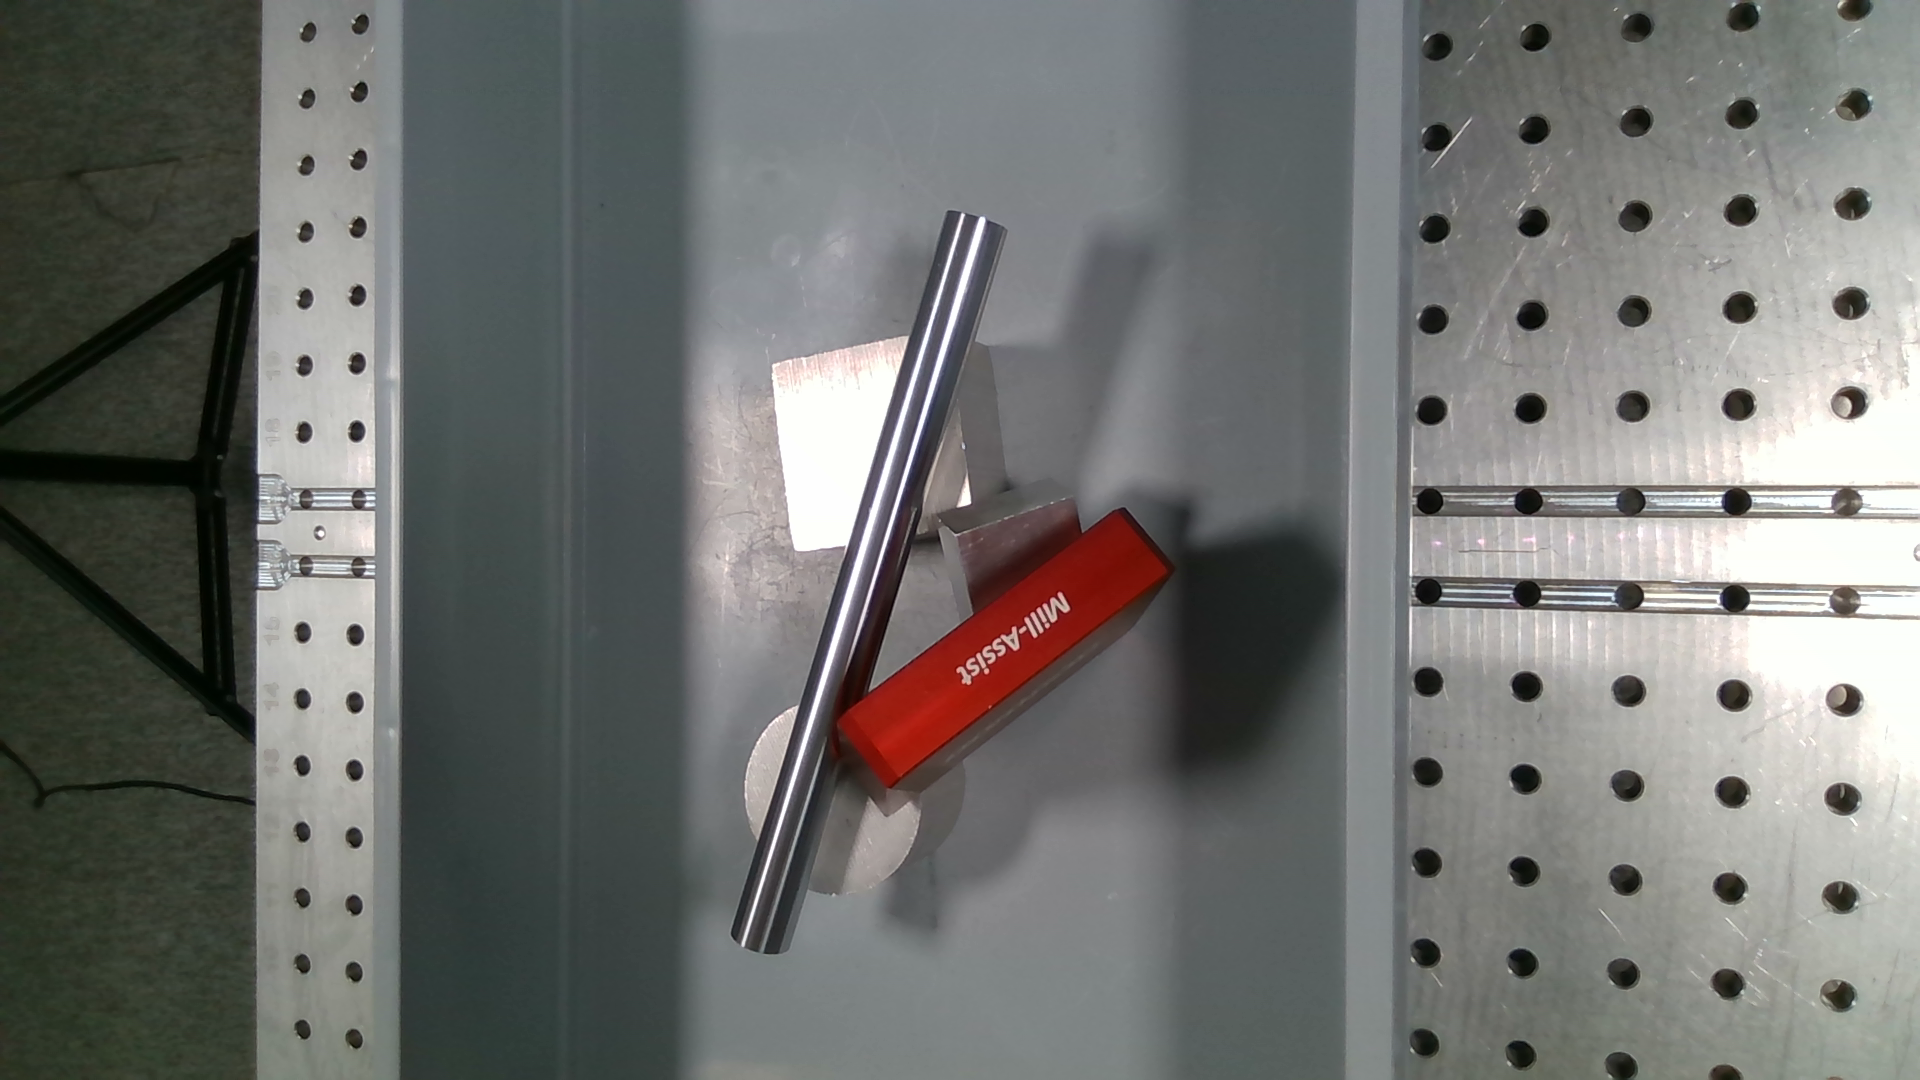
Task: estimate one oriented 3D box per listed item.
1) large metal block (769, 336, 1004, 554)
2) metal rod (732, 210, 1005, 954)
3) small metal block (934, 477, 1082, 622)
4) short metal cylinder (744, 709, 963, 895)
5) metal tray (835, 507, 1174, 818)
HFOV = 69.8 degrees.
[{"bbox_3d":[-0.028,-0.040,0.582,0.080,0.050,0.080,-8,88,20],"label":"large metal block"},{"bbox_3d":[-0.038,0.020,0.544,0.025,0.025,0.300,19,97,19],"label":"metal rod"},{"bbox_3d":[0.022,0.009,0.541,0.050,0.025,0.050,-19,114,-13],"label":"small metal block"},{"bbox_3d":[-0.045,0.106,0.589,0.080,0.050,0.080,0,90,20],"label":"short metal cylinder"},{"bbox_3d":[0.015,0.049,0.519,0.130,0.090,0.030,-36,78,-14],"label":"metal tray"}]
